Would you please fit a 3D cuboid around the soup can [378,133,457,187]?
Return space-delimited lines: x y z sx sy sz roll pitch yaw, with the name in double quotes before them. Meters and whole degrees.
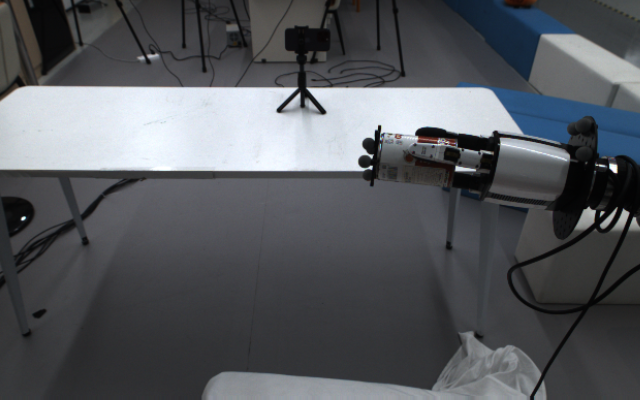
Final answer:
"soup can" 0.134 -0.056 0.664 0.101 0.067 0.067 6 35 10
